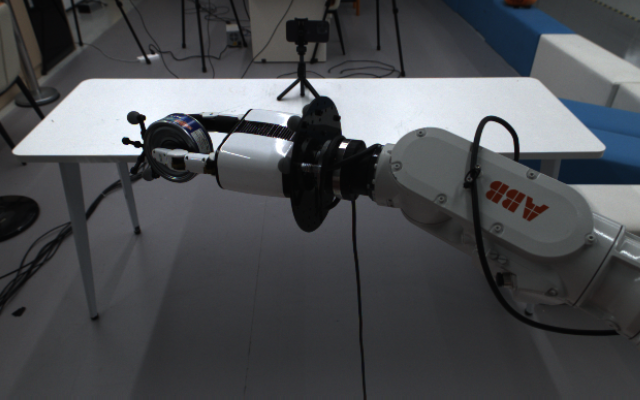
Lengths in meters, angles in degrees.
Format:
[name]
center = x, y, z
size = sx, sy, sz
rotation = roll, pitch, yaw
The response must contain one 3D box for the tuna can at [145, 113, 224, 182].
[tuna can]
center = -0.180, -0.064, 0.621
size = 0.085, 0.085, 0.034
rotation = 12, 29, 14
